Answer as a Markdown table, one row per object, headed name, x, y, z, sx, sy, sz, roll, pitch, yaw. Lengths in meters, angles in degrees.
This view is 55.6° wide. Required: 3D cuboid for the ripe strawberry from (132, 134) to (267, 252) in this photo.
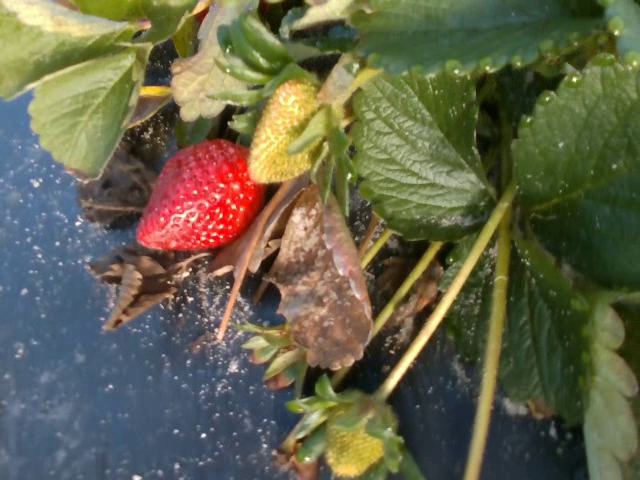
| name | x | y | z | sx | sy | sz | roll | pitch | yaw |
| --- | --- | --- | --- | --- | --- | --- | --- | --- | --- |
| ripe strawberry | -0.029 | -0.008 | 0.131 | 0.031 | 0.026 | 0.030 | 27 | 58 | 30 |
